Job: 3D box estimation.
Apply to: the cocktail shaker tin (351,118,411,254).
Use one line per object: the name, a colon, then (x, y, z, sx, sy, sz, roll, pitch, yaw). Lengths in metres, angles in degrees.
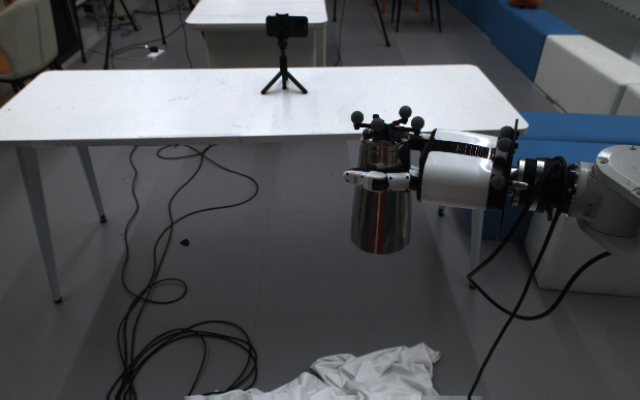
cocktail shaker tin: (0.094, -0.021, 0.696, 0.093, 0.170, 0.093, -1, 32, 1)
